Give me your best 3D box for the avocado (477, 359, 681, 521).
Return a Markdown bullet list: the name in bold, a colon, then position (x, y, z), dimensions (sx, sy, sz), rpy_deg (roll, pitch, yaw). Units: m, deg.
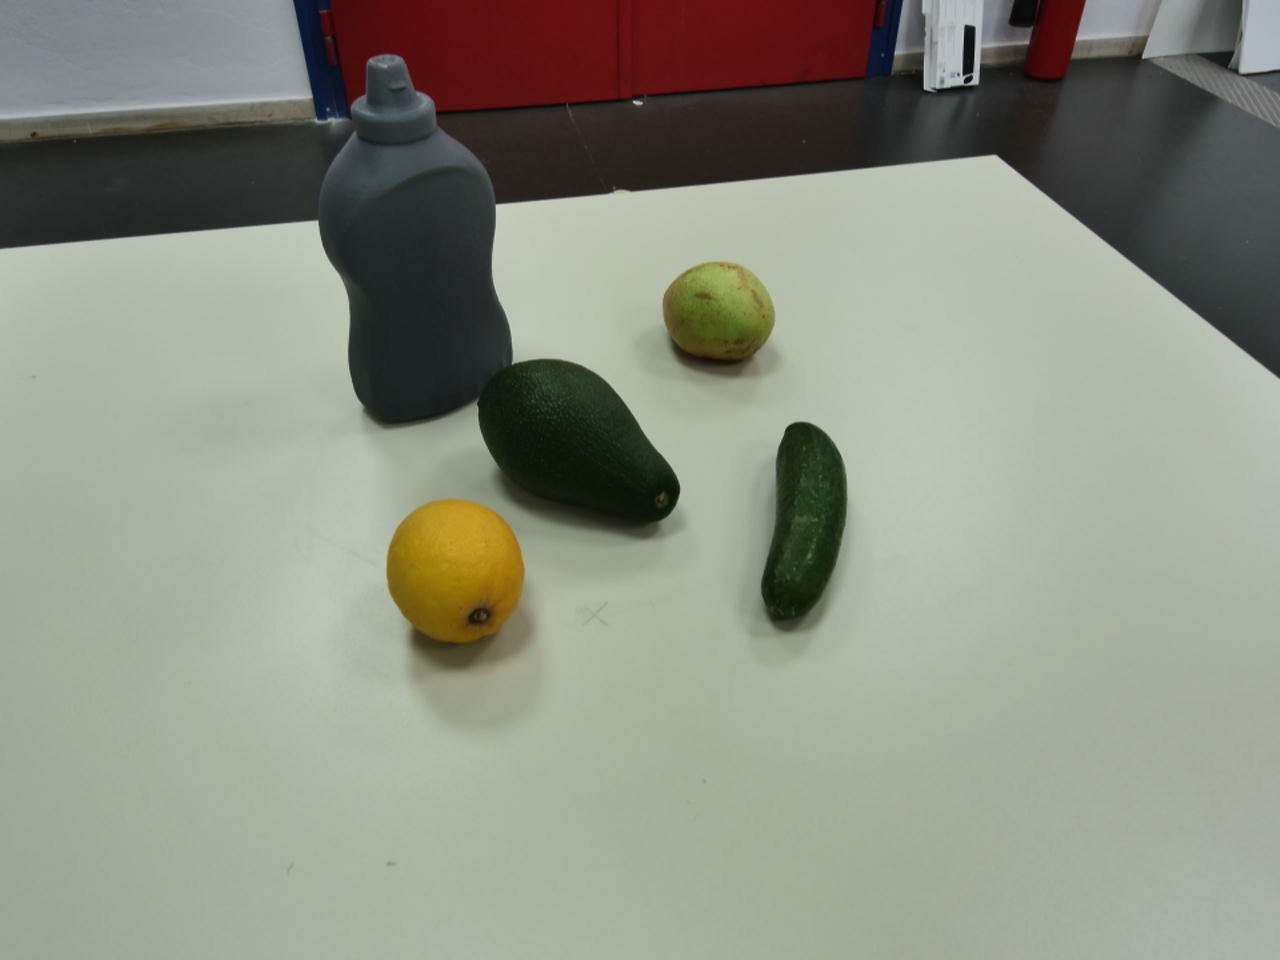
- **avocado**: position (-0.034, -0.020, 0.512), dimensions (0.072, 0.071, 0.109), rpy_deg (-25, 45, -27)
